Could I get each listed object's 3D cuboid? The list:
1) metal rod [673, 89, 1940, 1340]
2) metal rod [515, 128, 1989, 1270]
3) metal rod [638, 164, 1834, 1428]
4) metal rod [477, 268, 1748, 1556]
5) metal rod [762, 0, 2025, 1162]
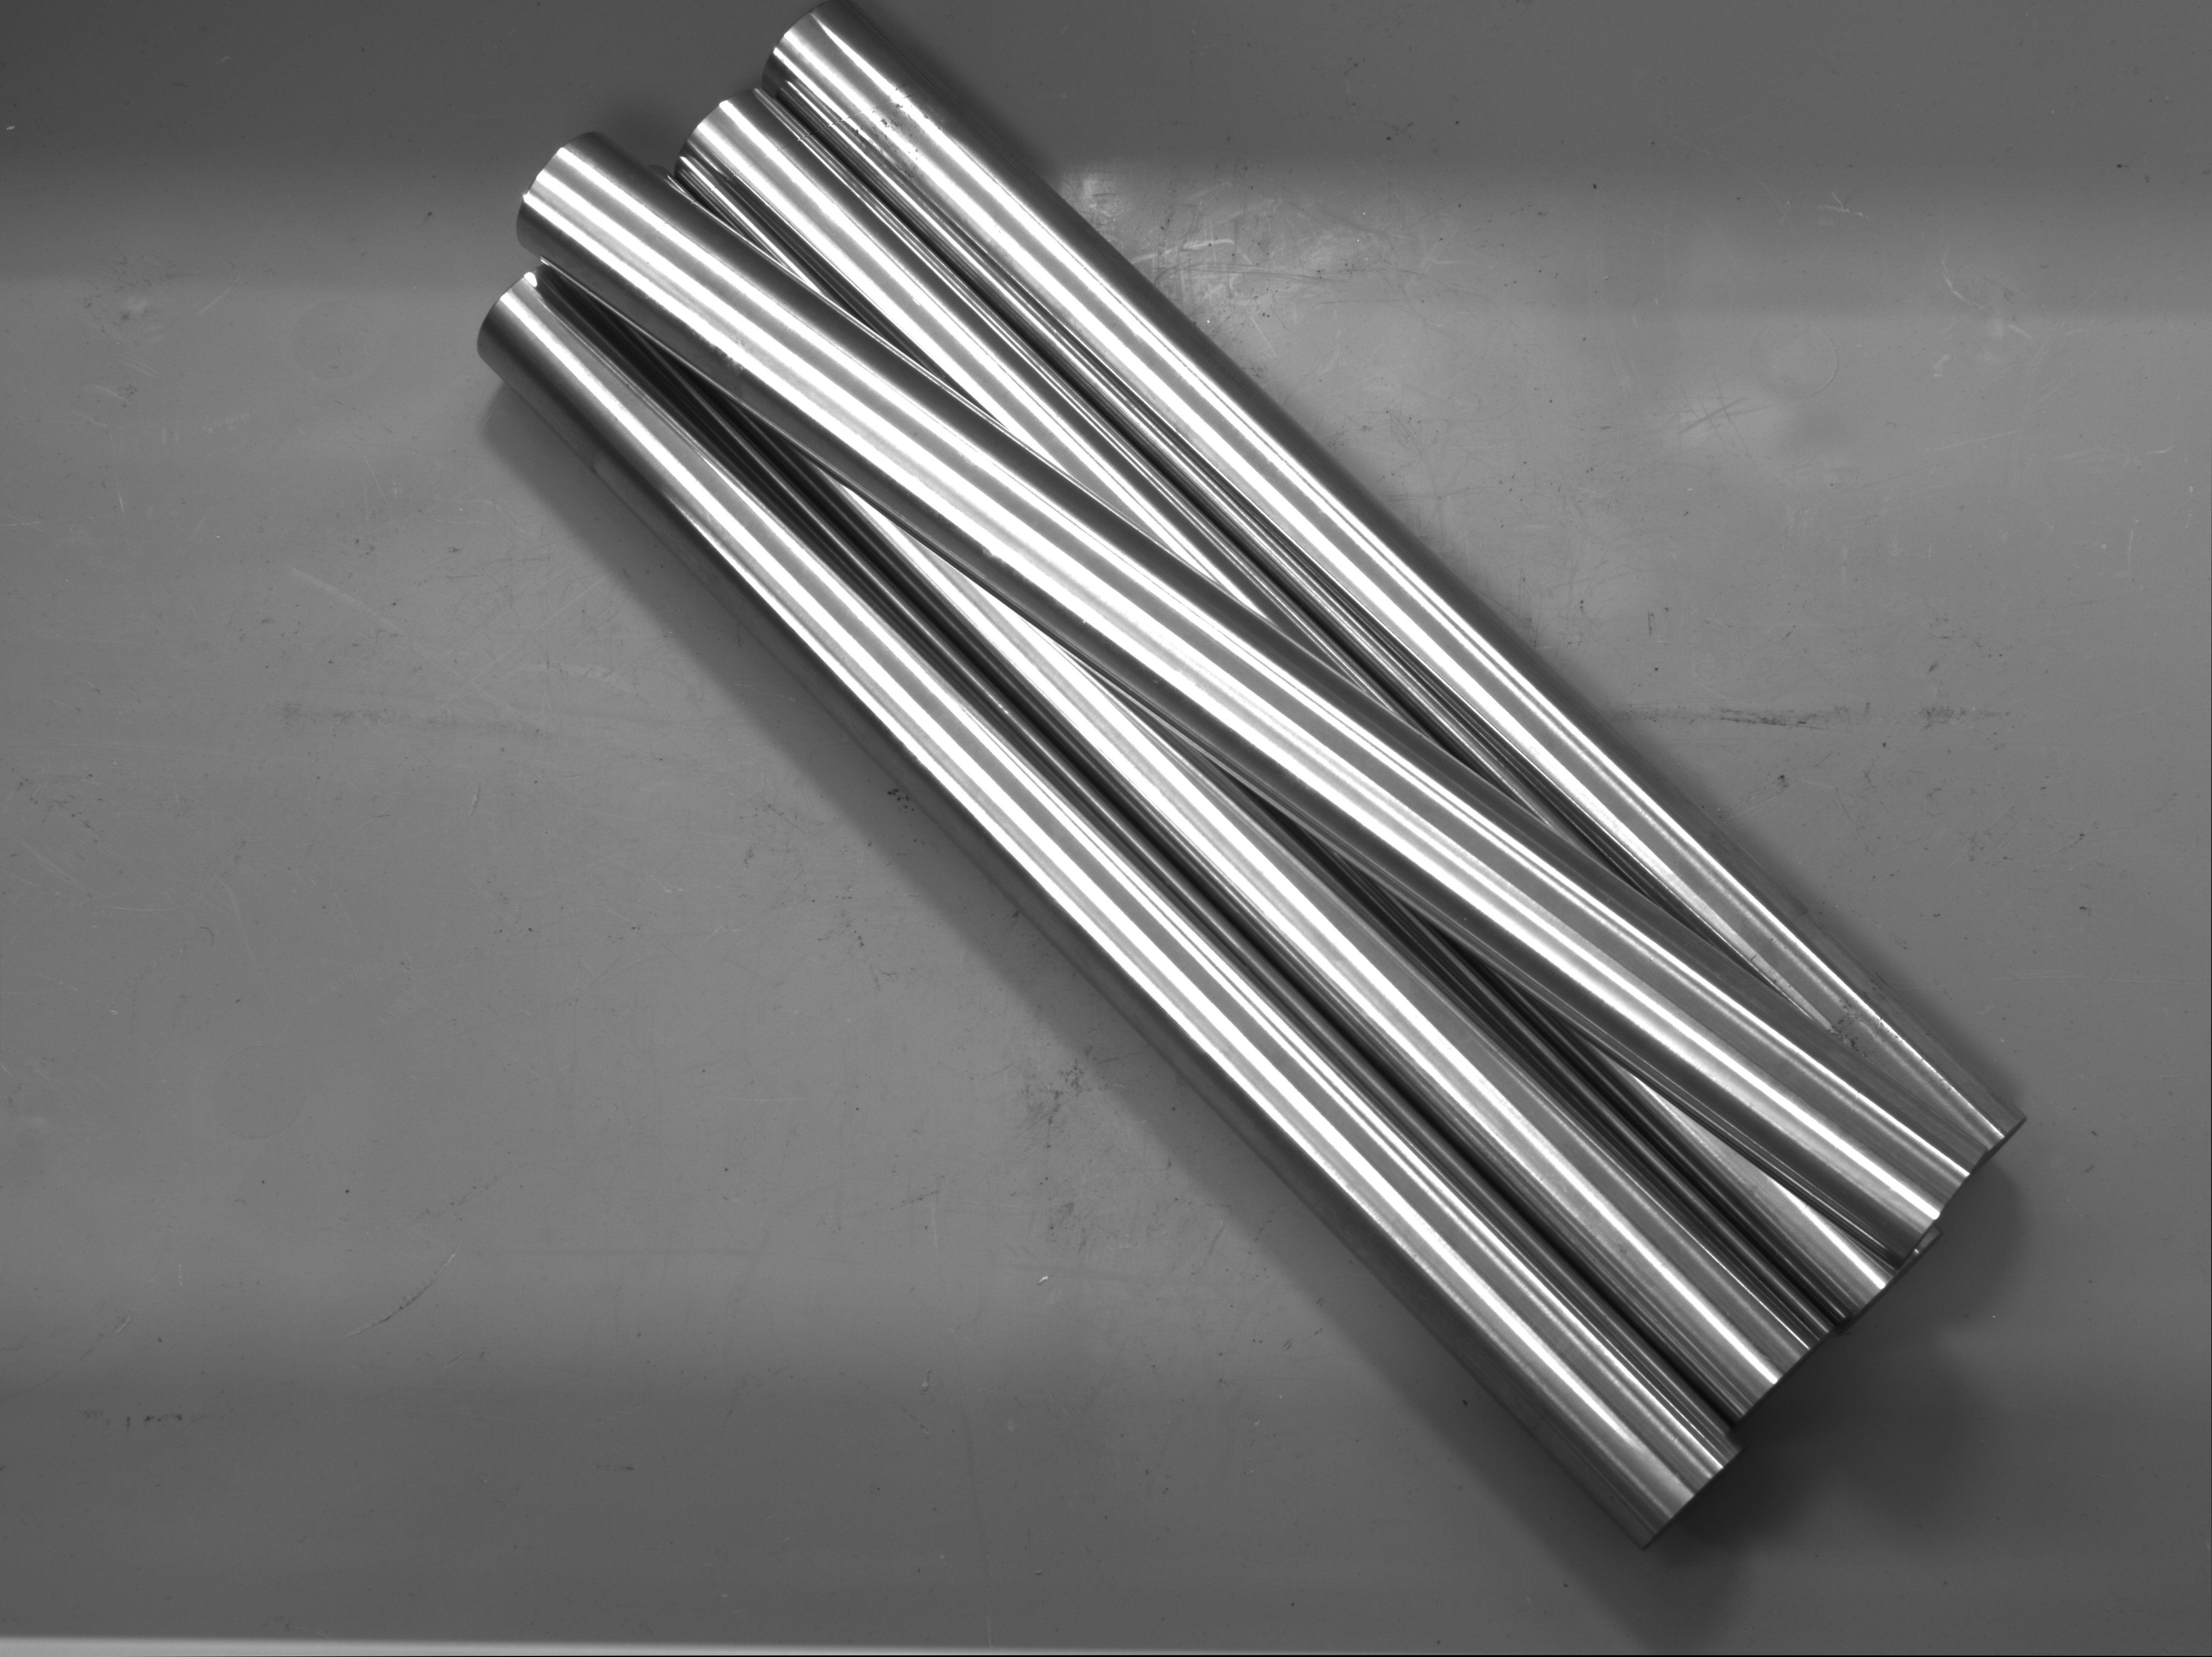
[{"bbox_3d":[0.029,-0.026,0.653,0.025,0.025,0.300,-41,75,-13],"label":"metal rod"},{"bbox_3d":[0.019,-0.027,0.626,0.300,0.025,0.025,37,74,12],"label":"metal rod"},{"bbox_3d":[0.011,-0.011,0.648,0.025,0.025,0.300,-41,75,-13],"label":"metal rod"},{"bbox_3d":[-0.005,0.008,0.641,0.025,0.025,0.300,-41,75,-13],"label":"metal rod"},{"bbox_3d":[0.046,-0.045,0.660,0.025,0.025,0.300,-41,75,-13],"label":"metal rod"}]
